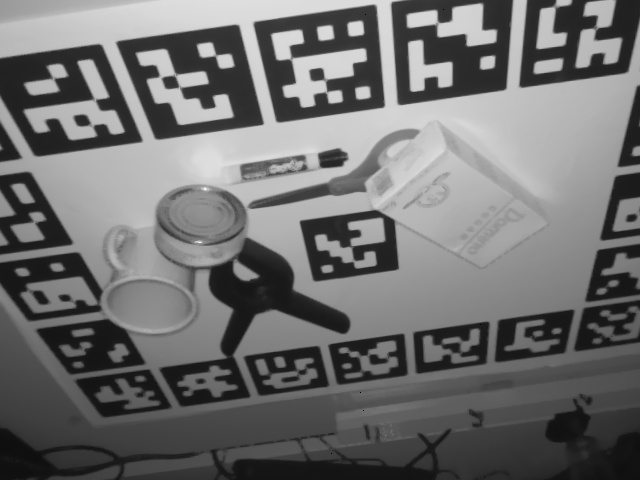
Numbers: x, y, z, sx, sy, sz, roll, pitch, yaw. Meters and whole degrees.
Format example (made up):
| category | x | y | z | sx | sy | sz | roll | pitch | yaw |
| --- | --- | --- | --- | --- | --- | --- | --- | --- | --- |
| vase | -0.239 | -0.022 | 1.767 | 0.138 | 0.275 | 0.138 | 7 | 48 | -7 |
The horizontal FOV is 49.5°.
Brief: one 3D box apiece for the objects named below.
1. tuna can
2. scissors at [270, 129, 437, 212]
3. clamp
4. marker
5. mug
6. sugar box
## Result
| category | x | y | z | sx | sy | sz | roll | pitch | yaw |
| --- | --- | --- | --- | --- | --- | --- | --- | --- | --- |
| tuna can | -0.100 | -0.019 | 0.667 | 0.086 | 0.086 | 0.033 | 5 | 132 | -9 |
| scissors | 0.046 | -0.054 | 0.690 | 0.202 | 0.016 | 0.087 | -15 | 136 | 11 |
| clamp | -0.050 | 0.057 | 0.788 | 0.164 | 0.037 | 0.202 | -15 | 131 | 10 |
| marker | -0.005 | -0.079 | 0.665 | 0.121 | 0.020 | 0.019 | -10 | 131 | 4 |
| mug | -0.152 | 0.024 | 0.709 | 0.092 | 0.082 | 0.118 | -29 | 132 | 21 |
| sugar box | 0.156 | -0.040 | 0.689 | 0.091 | 0.045 | 0.178 | -37 | 131 | 27 |
